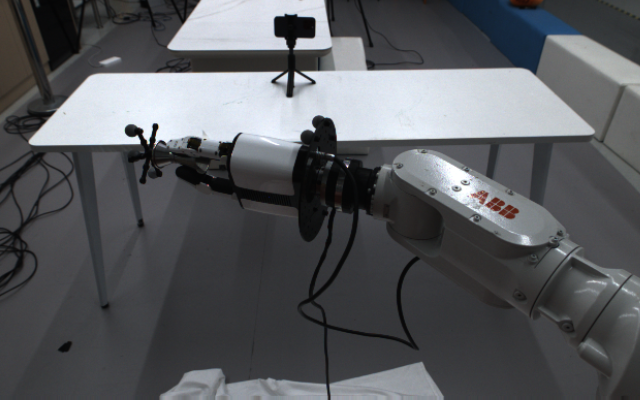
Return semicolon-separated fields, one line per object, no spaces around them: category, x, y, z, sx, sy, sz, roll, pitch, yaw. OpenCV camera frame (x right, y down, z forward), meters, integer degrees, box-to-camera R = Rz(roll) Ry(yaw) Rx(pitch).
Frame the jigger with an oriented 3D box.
jigger;-0.185;-0.064;0.676;0.071;0.043;0.043;5;34;14
